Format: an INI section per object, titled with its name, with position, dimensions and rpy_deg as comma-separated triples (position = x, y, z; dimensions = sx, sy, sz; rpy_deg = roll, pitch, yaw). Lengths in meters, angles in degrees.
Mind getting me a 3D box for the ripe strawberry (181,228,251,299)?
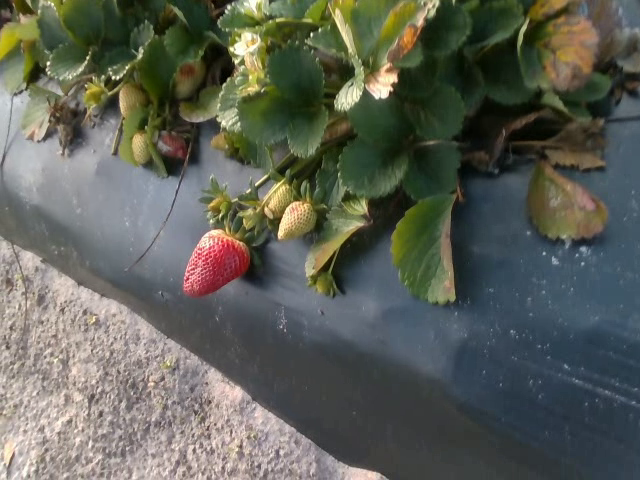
[ripe strawberry]
position = -0.096, 0.023, 0.552
dimensions = 0.052, 0.068, 0.045
rpy_deg = 26, -16, 28
